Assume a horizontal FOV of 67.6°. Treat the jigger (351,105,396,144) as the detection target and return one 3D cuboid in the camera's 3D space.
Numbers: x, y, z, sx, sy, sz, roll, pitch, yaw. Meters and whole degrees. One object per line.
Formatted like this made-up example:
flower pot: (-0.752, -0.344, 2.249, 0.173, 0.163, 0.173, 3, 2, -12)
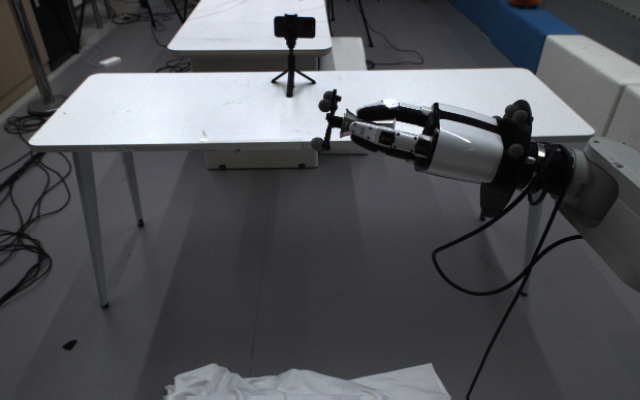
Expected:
jigger: (0.070, -0.099, 0.650, 0.071, 0.043, 0.043, 12, 36, 5)
